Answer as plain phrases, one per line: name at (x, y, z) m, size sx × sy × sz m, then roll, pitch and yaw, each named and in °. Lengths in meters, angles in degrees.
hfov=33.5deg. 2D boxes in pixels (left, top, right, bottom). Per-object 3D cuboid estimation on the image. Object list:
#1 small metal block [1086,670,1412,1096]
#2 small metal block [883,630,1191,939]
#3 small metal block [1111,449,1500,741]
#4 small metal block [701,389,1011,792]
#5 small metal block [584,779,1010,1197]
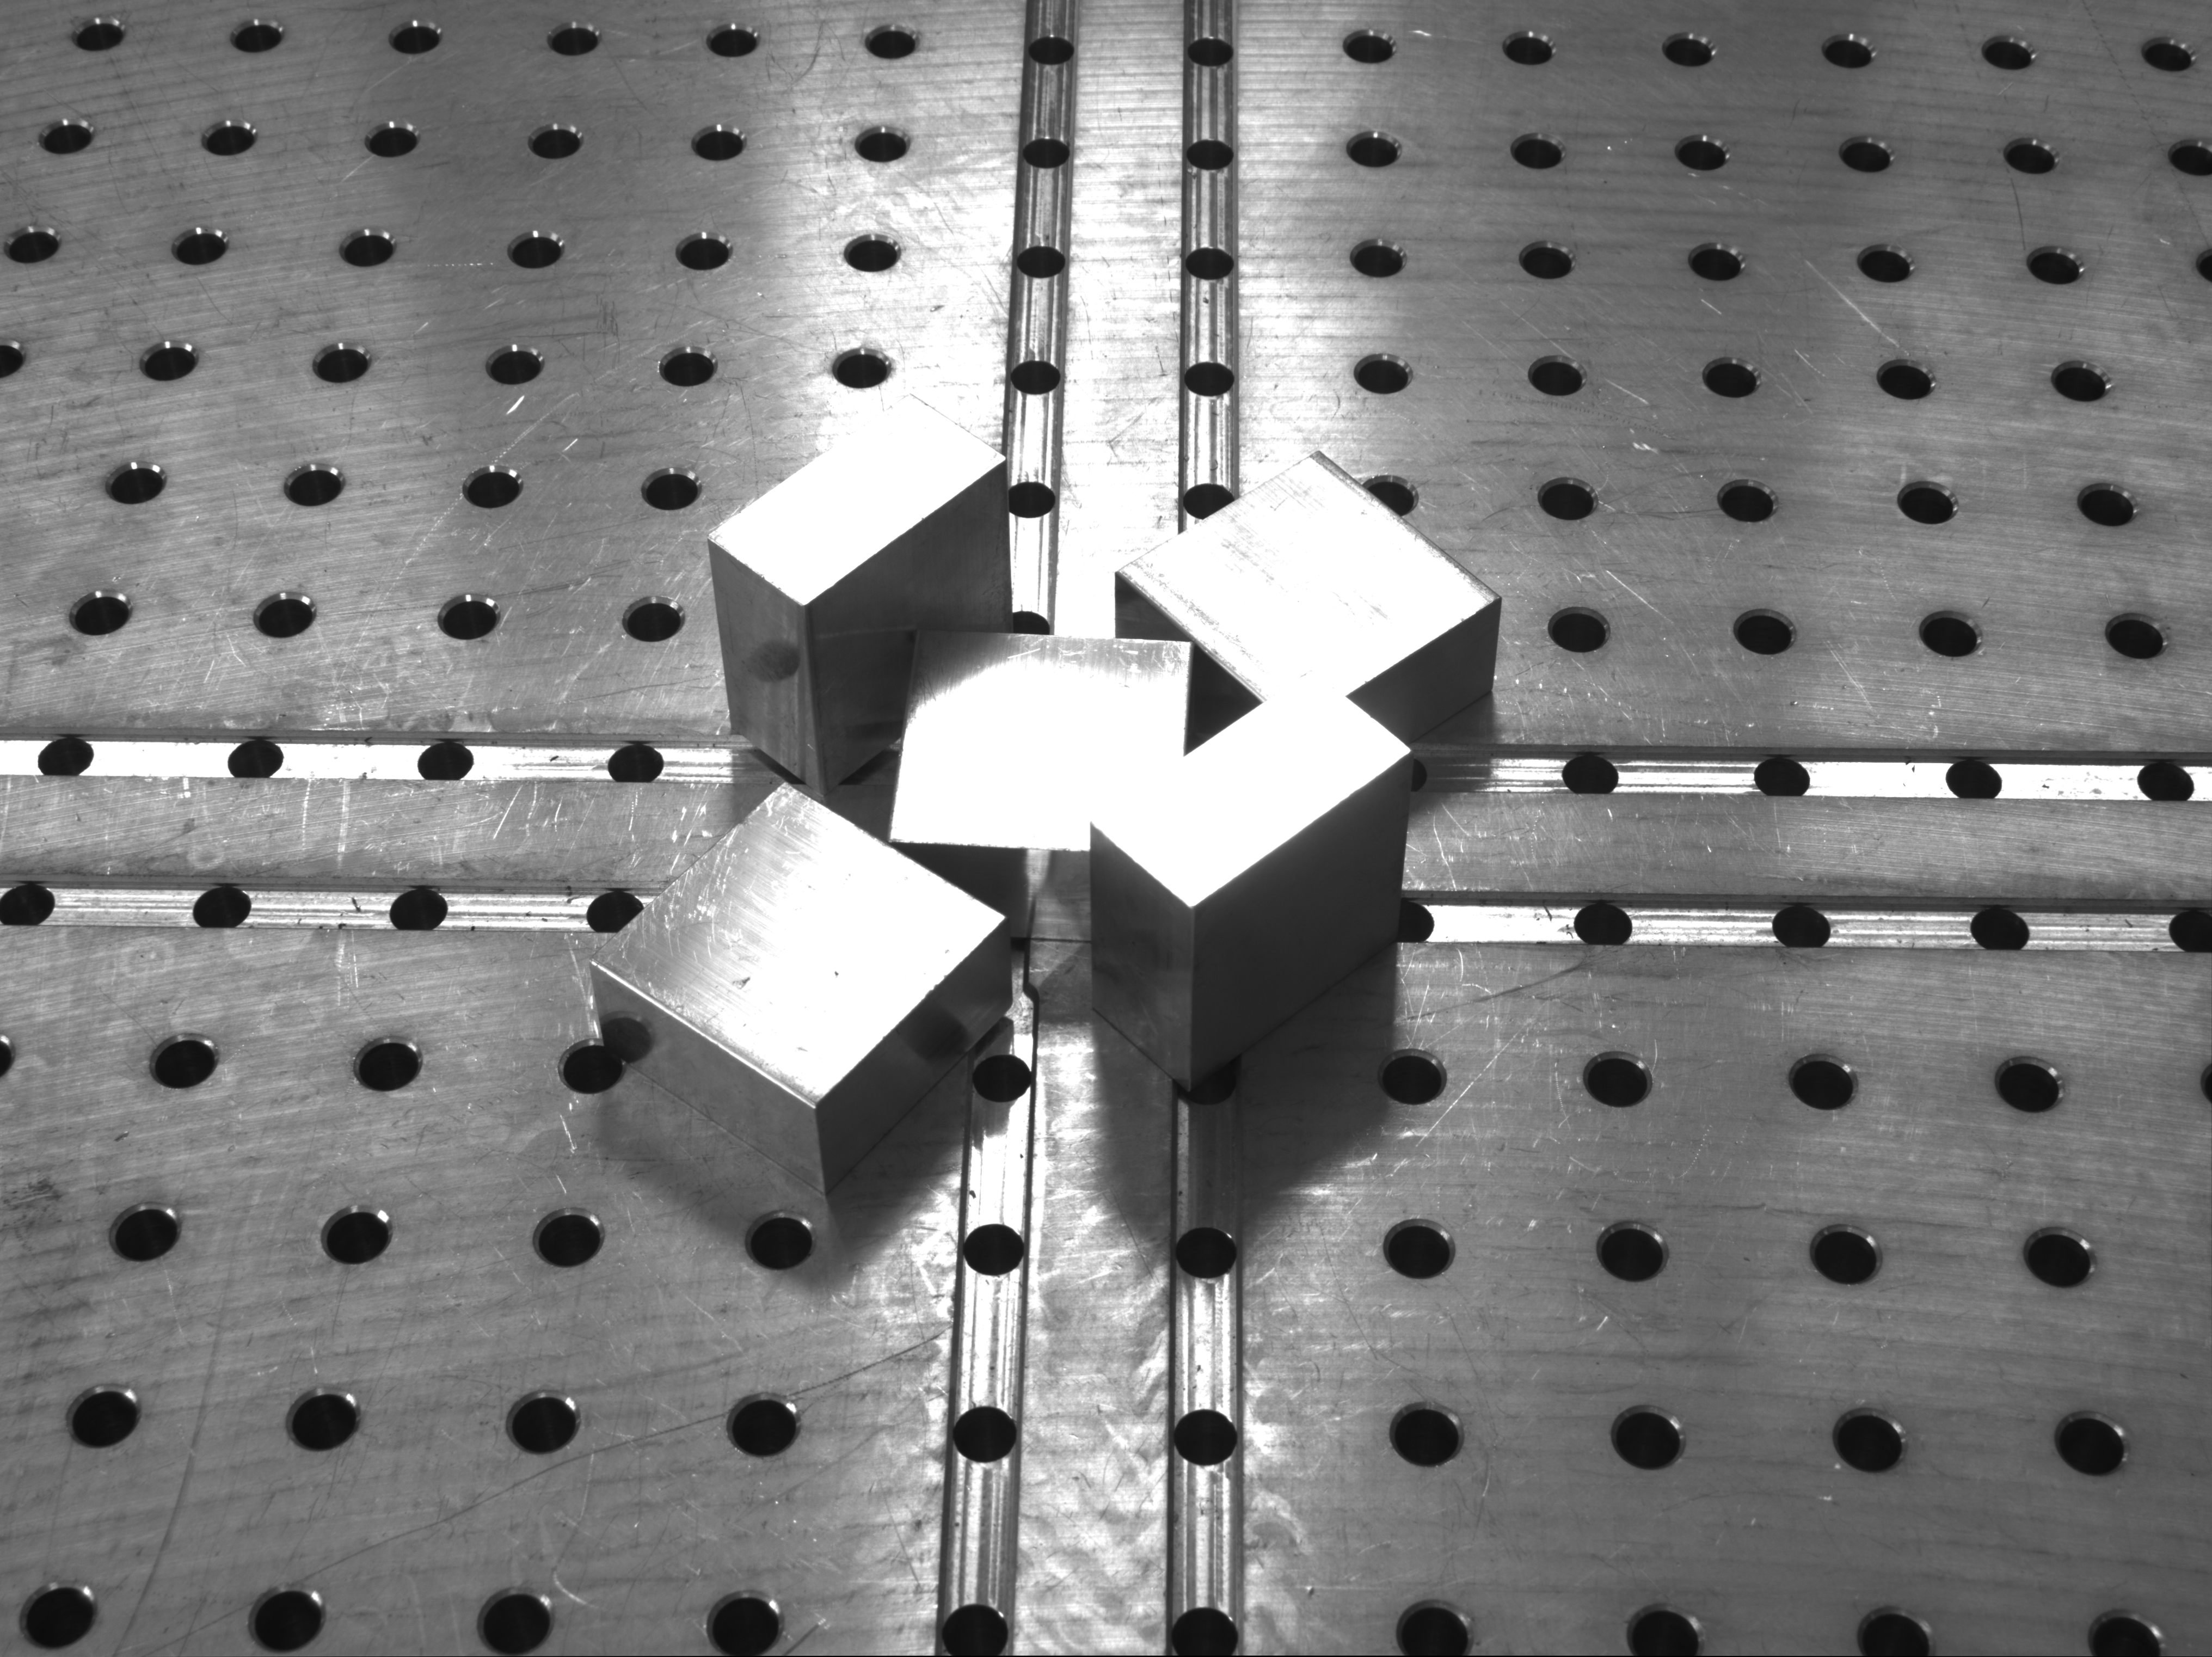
small metal block at (0.024, 0.009, 0.621) m, size 0.050 × 0.050 × 0.025 m, roll -35°, pitch 57°, yaw -26°
small metal block at (-0.011, -0.008, 0.651) m, size 0.050 × 0.025 × 0.050 m, roll 2°, pitch 49°, yaw 3°
small metal block at (0.036, -0.036, 0.676) m, size 0.050 × 0.025 × 0.050 m, roll -33°, pitch 57°, yaw -24°
small metal block at (-0.044, -0.043, 0.665) m, size 0.025 × 0.050 × 0.050 m, roll 37°, pitch 60°, yaw 26°
small metal block at (-0.052, 0.026, 0.623) m, size 0.050 × 0.025 × 0.050 m, roll 31°, pitch 56°, yaw 23°
